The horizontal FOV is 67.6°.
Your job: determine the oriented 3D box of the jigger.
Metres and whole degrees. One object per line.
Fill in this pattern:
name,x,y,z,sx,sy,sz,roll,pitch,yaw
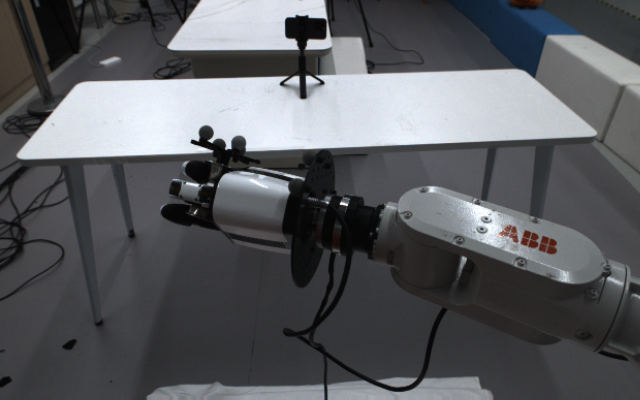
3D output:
jigger,-0.129,-0.010,0.581,0.043,0.071,0.043,18,-6,2
